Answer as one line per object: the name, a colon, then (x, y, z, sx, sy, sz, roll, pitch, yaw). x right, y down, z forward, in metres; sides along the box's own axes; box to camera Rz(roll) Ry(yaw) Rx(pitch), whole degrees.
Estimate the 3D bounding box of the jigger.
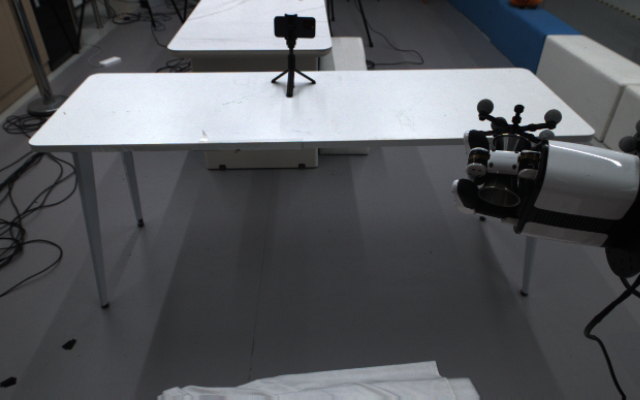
jigger: (0.203, -0.033, 0.523, 0.043, 0.043, 0.071, 13, 69, 15)
